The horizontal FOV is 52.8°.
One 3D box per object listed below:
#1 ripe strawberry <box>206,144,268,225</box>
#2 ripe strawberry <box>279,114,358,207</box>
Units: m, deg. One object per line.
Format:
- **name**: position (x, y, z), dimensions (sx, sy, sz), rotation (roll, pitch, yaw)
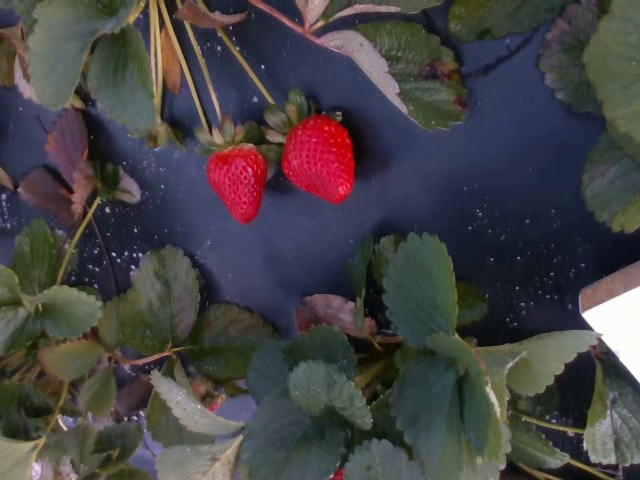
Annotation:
- **ripe strawberry**: position (-0.054, -0.037, 0.423), dimensions (0.048, 0.056, 0.041), rotation (-19, -3, 31)
- **ripe strawberry**: position (-0.002, -0.044, 0.389), dimensions (0.051, 0.058, 0.064), rotation (-9, 50, -42)
